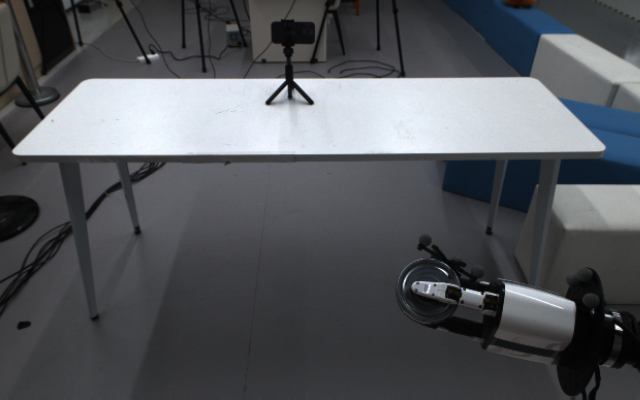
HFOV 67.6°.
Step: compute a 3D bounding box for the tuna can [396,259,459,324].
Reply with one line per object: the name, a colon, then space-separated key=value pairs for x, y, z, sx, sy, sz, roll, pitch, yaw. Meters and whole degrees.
tuna can: x=0.149 y=0.128 z=0.644 sx=0.085 sy=0.034 sz=0.085 roll=-4 pitch=69 yaw=10
